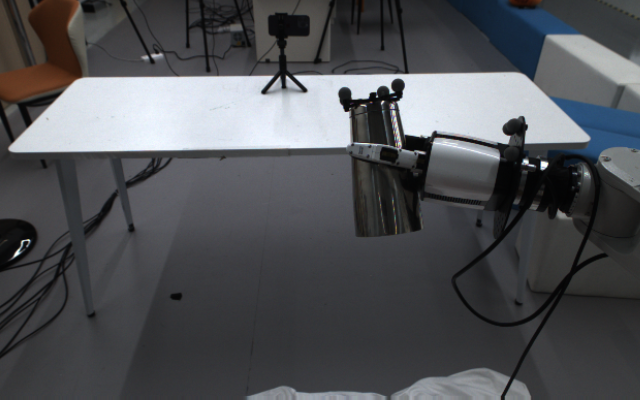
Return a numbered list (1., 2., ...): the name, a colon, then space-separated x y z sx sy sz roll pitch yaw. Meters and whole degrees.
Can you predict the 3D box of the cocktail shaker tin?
1. cocktail shaker tin: 0.083 -0.041 0.650 0.093 0.170 0.093 -8 1 0
